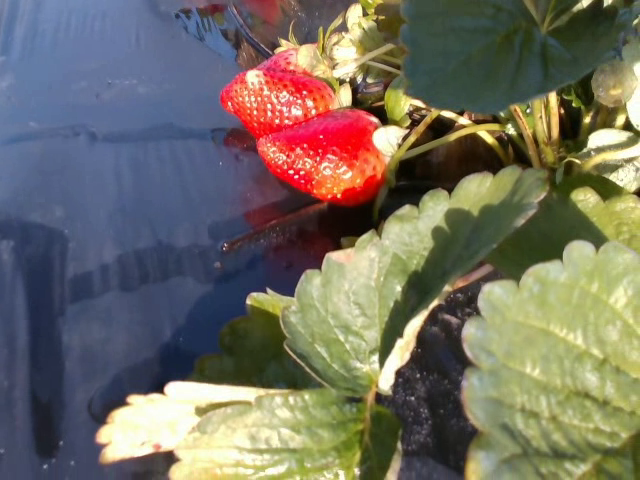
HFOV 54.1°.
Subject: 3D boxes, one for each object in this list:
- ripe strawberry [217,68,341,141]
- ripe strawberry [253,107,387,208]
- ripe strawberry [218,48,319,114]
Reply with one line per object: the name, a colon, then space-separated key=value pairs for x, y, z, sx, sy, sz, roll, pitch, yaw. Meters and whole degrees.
ripe strawberry: x=-0.013 y=-0.047 z=0.207 sx=0.039 sy=0.031 sz=0.036 roll=27 pitch=-55 yaw=-30
ripe strawberry: x=-0.004 y=-0.027 z=0.188 sx=0.041 sy=0.034 sz=0.035 roll=9 pitch=32 yaw=-29
ripe strawberry: x=-0.018 y=-0.061 z=0.232 sx=0.045 sy=0.023 sz=0.032 roll=-18 pitch=42 yaw=-4
